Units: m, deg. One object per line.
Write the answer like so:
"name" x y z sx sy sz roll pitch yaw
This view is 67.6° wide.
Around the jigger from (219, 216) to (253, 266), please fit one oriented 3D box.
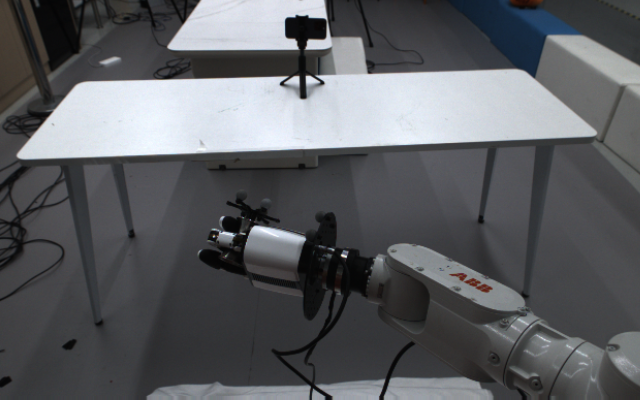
"jigger" -0.120 0.063 0.736 0.043 0.043 0.071 15 71 18
